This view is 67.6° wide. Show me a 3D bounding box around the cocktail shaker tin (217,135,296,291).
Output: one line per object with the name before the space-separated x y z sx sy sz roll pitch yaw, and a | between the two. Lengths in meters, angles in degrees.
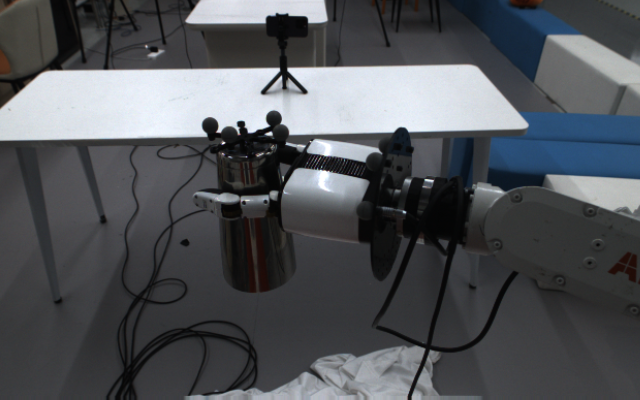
cocktail shaker tin | -0.073 0.011 0.566 0.093 0.170 0.093 -1 32 1
